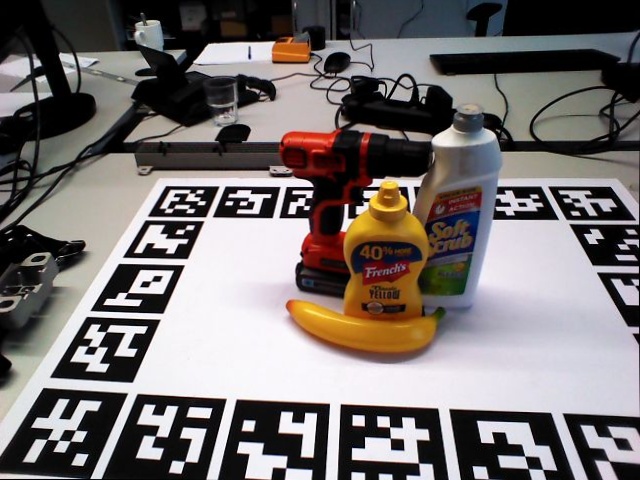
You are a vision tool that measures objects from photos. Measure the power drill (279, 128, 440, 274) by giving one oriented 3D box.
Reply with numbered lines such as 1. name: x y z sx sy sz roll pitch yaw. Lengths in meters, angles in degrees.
1. power drill: 0.044 -0.044 0.628 0.185 0.187 0.057 10 38 15

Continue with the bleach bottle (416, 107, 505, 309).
1. bleach bottle: 0.153 -0.037 0.603 0.103 0.251 0.067 3 32 9

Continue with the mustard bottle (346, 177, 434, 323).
1. mustard bottle: 0.078 0.016 0.580 0.096 0.192 0.058 2 38 6

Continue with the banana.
1. banana: 0.059 0.101 0.611 0.198 0.039 0.074 3 39 12
